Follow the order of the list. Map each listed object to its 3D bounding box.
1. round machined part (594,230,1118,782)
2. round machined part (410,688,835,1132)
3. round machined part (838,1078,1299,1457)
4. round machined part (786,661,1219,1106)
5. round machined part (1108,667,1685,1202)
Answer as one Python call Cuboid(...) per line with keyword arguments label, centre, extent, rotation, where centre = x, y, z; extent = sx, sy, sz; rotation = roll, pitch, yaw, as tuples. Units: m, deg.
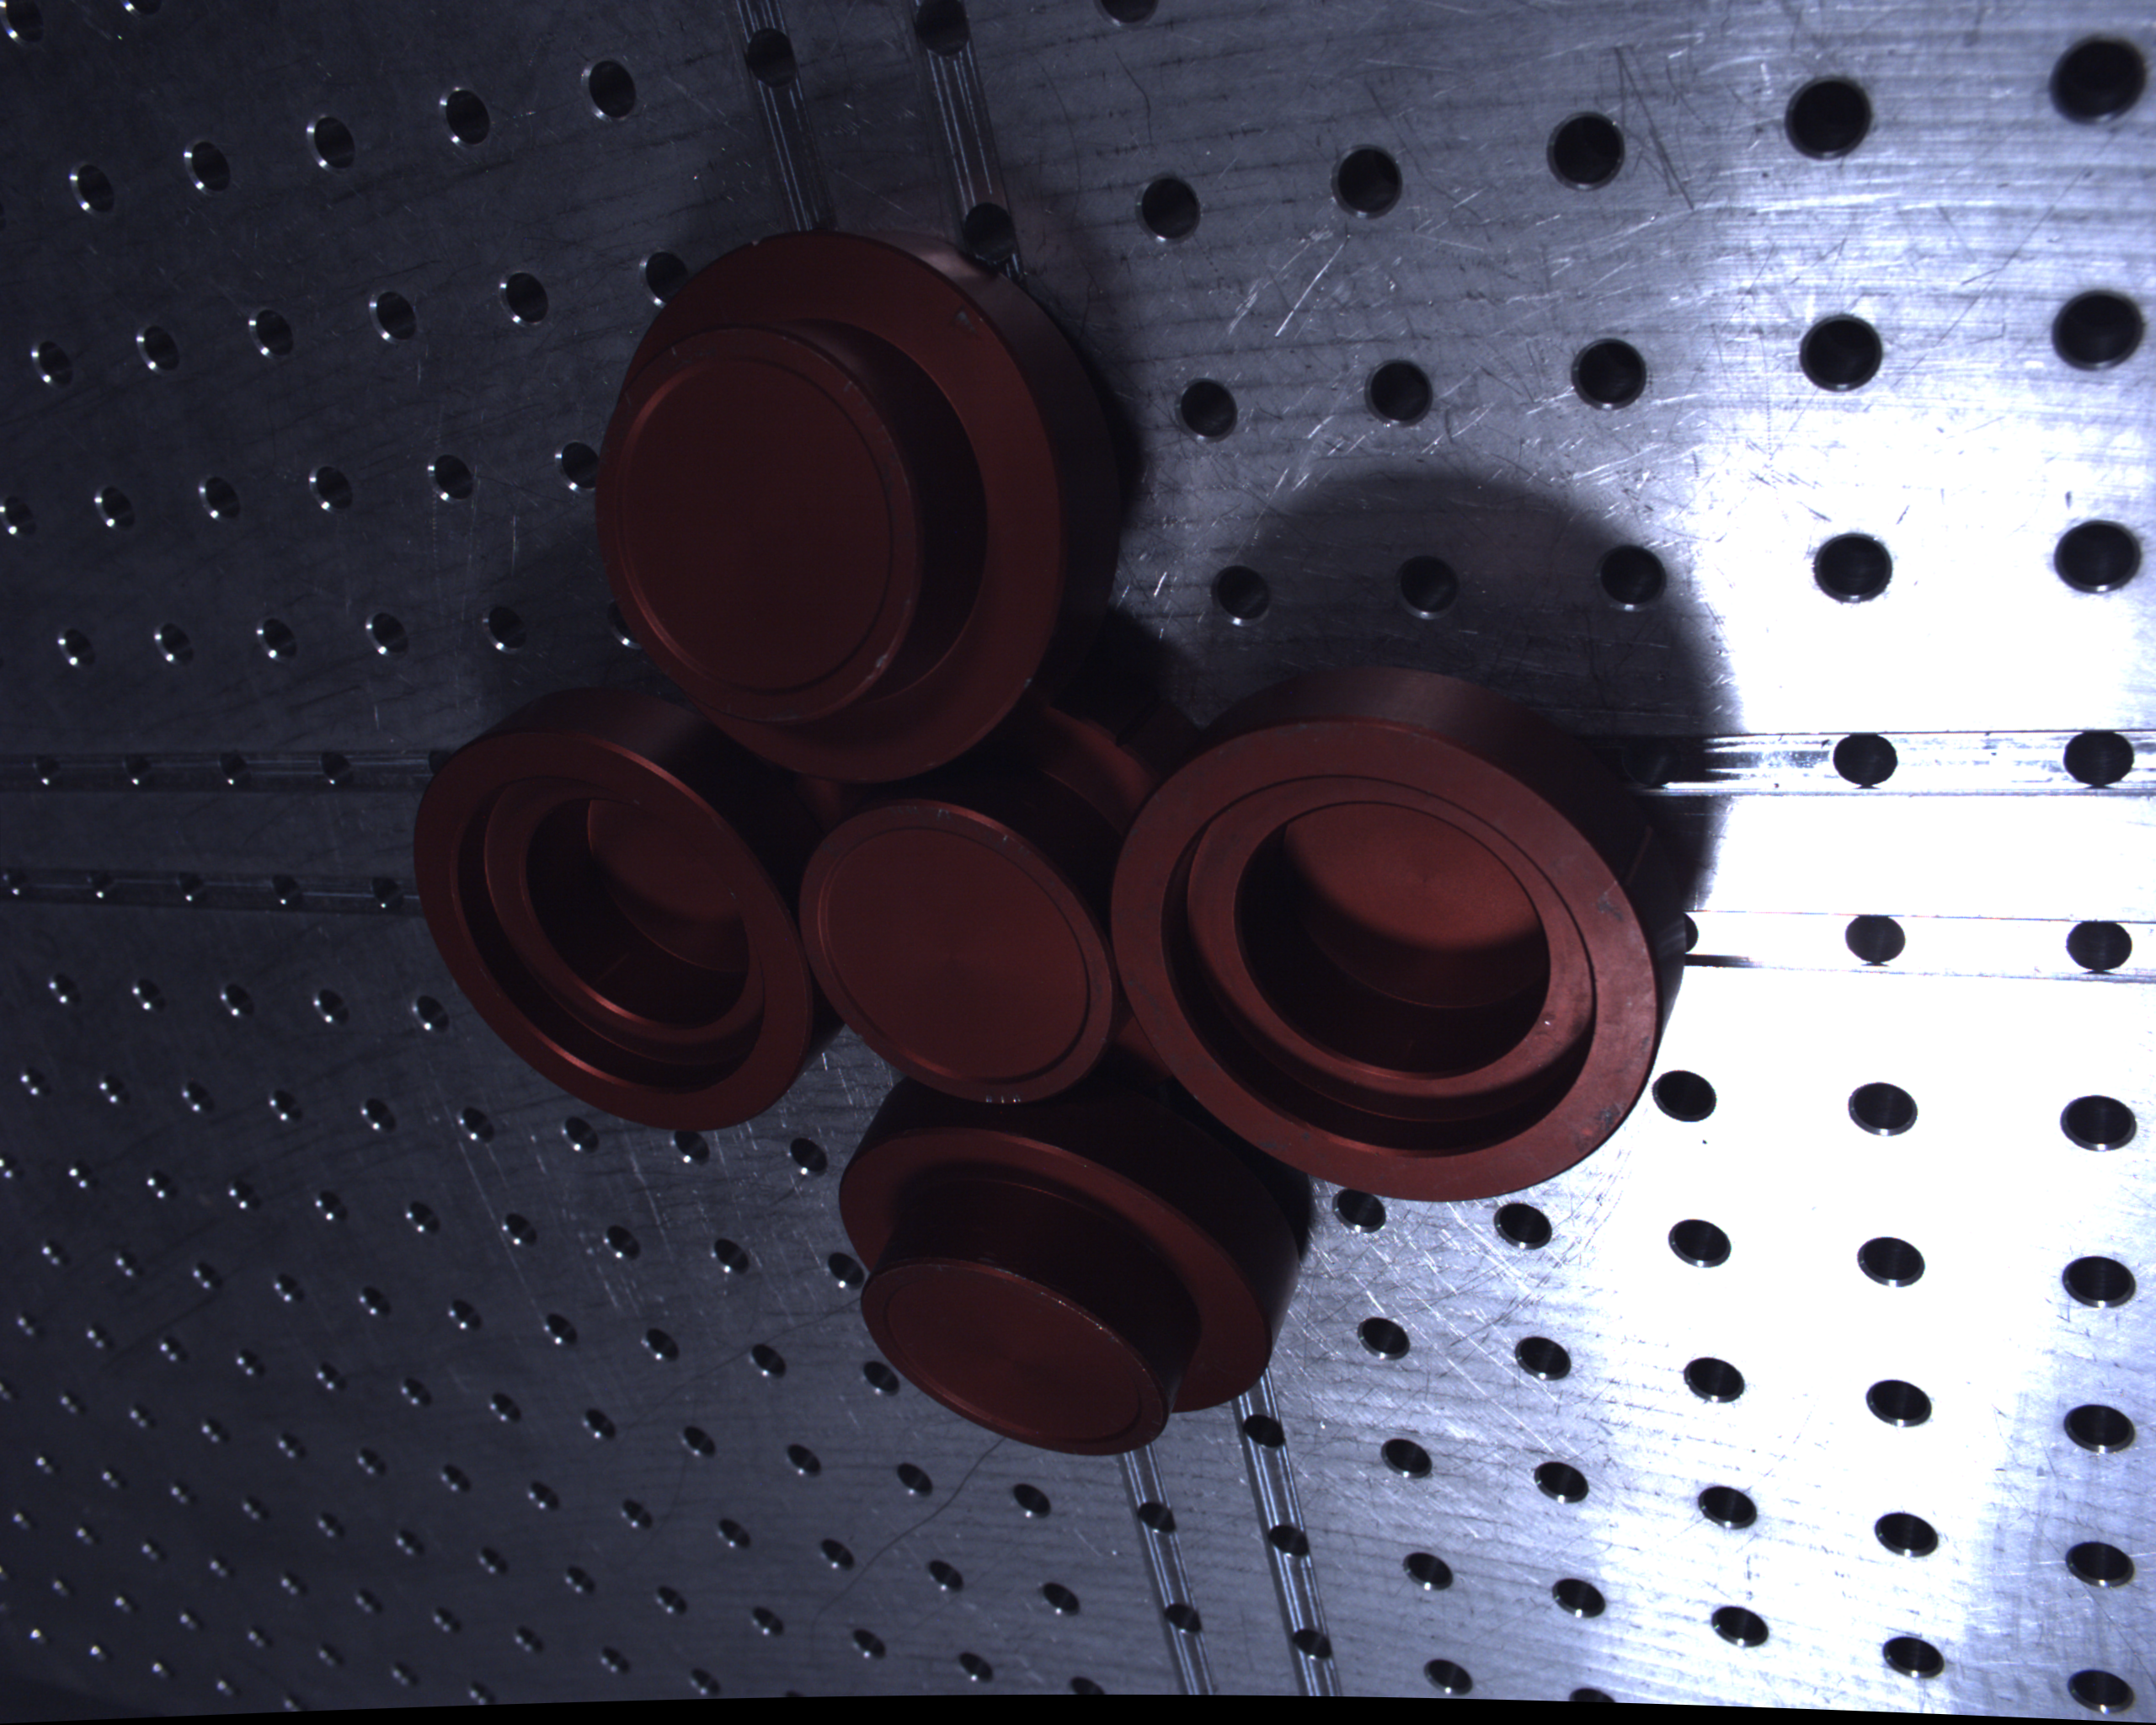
Cuboid(label="round machined part", centre=(-0.046, -0.062, 0.370), extent=(0.098, 0.042, 0.097), rotation=(8, 108, 27))
Cuboid(label="round machined part", centre=(-0.090, 0.006, 0.449), extent=(0.098, 0.042, 0.097), rotation=(13, 124, 20))
Cuboid(label="round machined part", centre=(-0.006, 0.089, 0.442), extent=(0.098, 0.042, 0.097), rotation=(15, 139, 14))
Cuboid(label="round machined part", centre=(-0.016, 0.009, 0.411), extent=(0.098, 0.042, 0.097), rotation=(13, 124, 20))
Cuboid(label="round machined part", centre=(0.059, 0.009, 0.374), extent=(0.098, 0.042, 0.097), rotation=(13, 124, 20))
